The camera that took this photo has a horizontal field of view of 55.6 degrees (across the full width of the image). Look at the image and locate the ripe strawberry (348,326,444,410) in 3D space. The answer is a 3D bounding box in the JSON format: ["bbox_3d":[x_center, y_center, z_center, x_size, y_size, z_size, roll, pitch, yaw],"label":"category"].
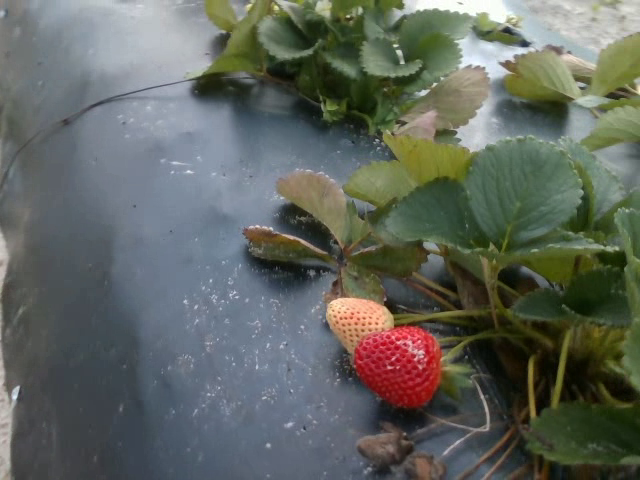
[{"bbox_3d":[0.030,0.047,0.237,0.041,0.034,0.033,28,-42,-24],"label":"ripe strawberry"}]
